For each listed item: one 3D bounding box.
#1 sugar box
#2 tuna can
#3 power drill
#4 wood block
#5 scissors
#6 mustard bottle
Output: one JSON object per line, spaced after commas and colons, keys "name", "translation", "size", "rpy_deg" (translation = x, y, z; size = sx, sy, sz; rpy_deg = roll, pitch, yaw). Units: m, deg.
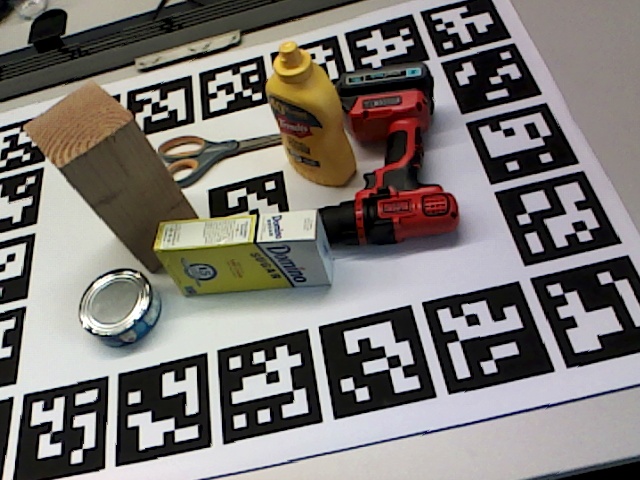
{"name": "sugar box", "translation": [-0.072, 0.013, 0.682], "size": [0.177, 0.092, 0.045], "rpy_deg": [-4, 55, 10]}
{"name": "tuna can", "translation": [-0.225, 0.074, 0.711], "size": [0.086, 0.033, 0.086], "rpy_deg": [-6, 58, 9]}
{"name": "power drill", "translation": [0.054, -0.086, 0.731], "size": [0.185, 0.057, 0.187], "rpy_deg": [-3, 65, 12]}
{"name": "wood block", "translation": [-0.218, -0.063, 0.707], "size": [0.091, 0.205, 0.090], "rpy_deg": [-39, 59, -11]}
{"name": "scissors", "translation": [-0.141, -0.122, 0.825], "size": [0.203, 0.016, 0.088], "rpy_deg": [-13, 53, 6]}
{"name": "mustard bottle", "translation": [-0.012, -0.146, 0.715], "size": [0.097, 0.190, 0.058], "rpy_deg": [32, 71, 27]}
